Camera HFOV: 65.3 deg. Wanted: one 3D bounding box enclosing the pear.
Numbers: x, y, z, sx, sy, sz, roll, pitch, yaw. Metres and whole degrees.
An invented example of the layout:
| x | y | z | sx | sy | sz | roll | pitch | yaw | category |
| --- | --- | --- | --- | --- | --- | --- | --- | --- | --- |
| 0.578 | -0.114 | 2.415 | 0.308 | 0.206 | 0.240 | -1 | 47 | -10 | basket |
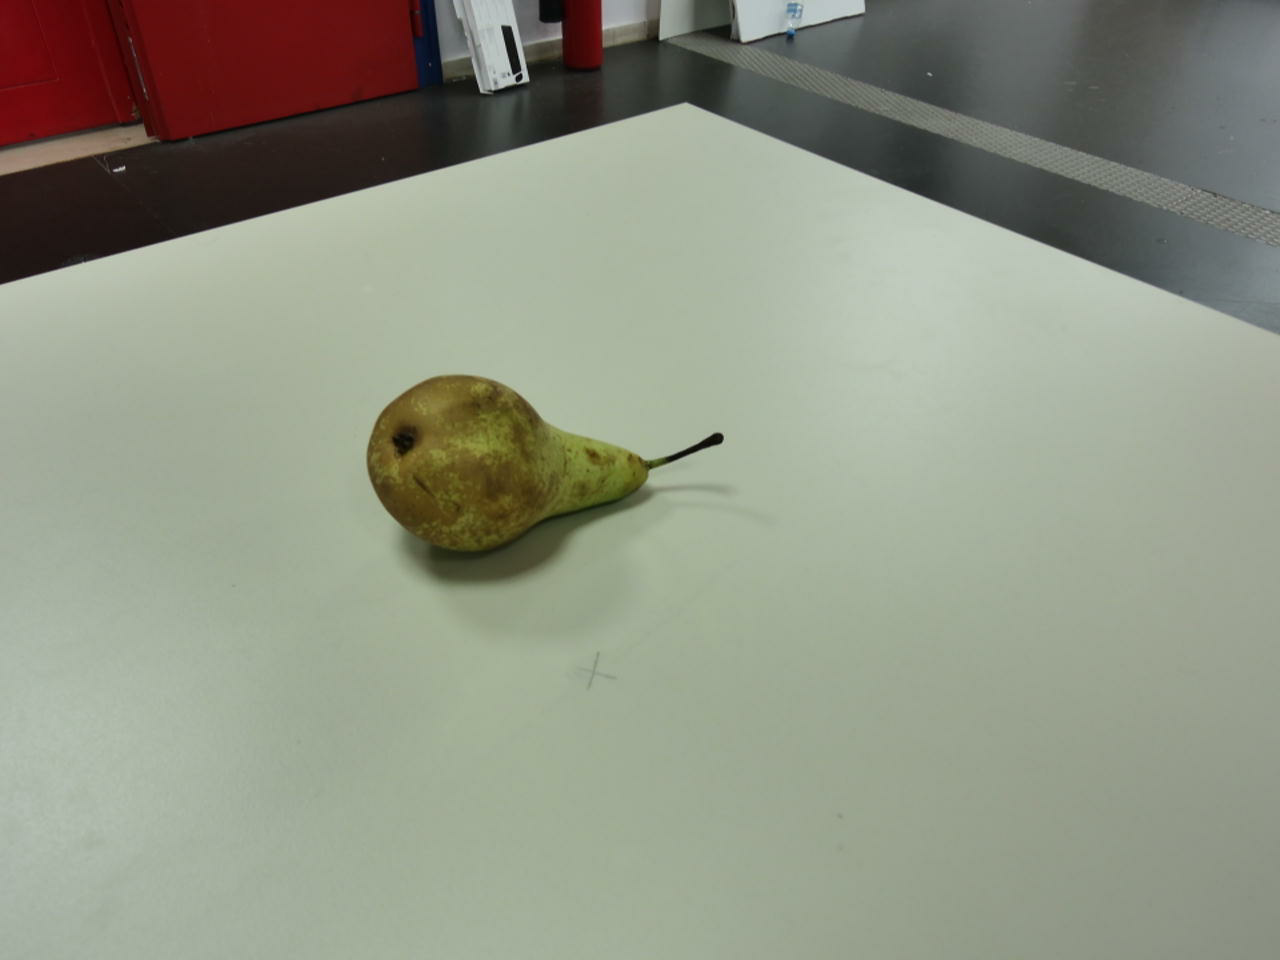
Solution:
| x | y | z | sx | sy | sz | roll | pitch | yaw | category |
| --- | --- | --- | --- | --- | --- | --- | --- | --- | --- |
| -0.043 | -0.018 | 0.420 | 0.144 | 0.075 | 0.071 | -22 | 42 | -26 | pear |
